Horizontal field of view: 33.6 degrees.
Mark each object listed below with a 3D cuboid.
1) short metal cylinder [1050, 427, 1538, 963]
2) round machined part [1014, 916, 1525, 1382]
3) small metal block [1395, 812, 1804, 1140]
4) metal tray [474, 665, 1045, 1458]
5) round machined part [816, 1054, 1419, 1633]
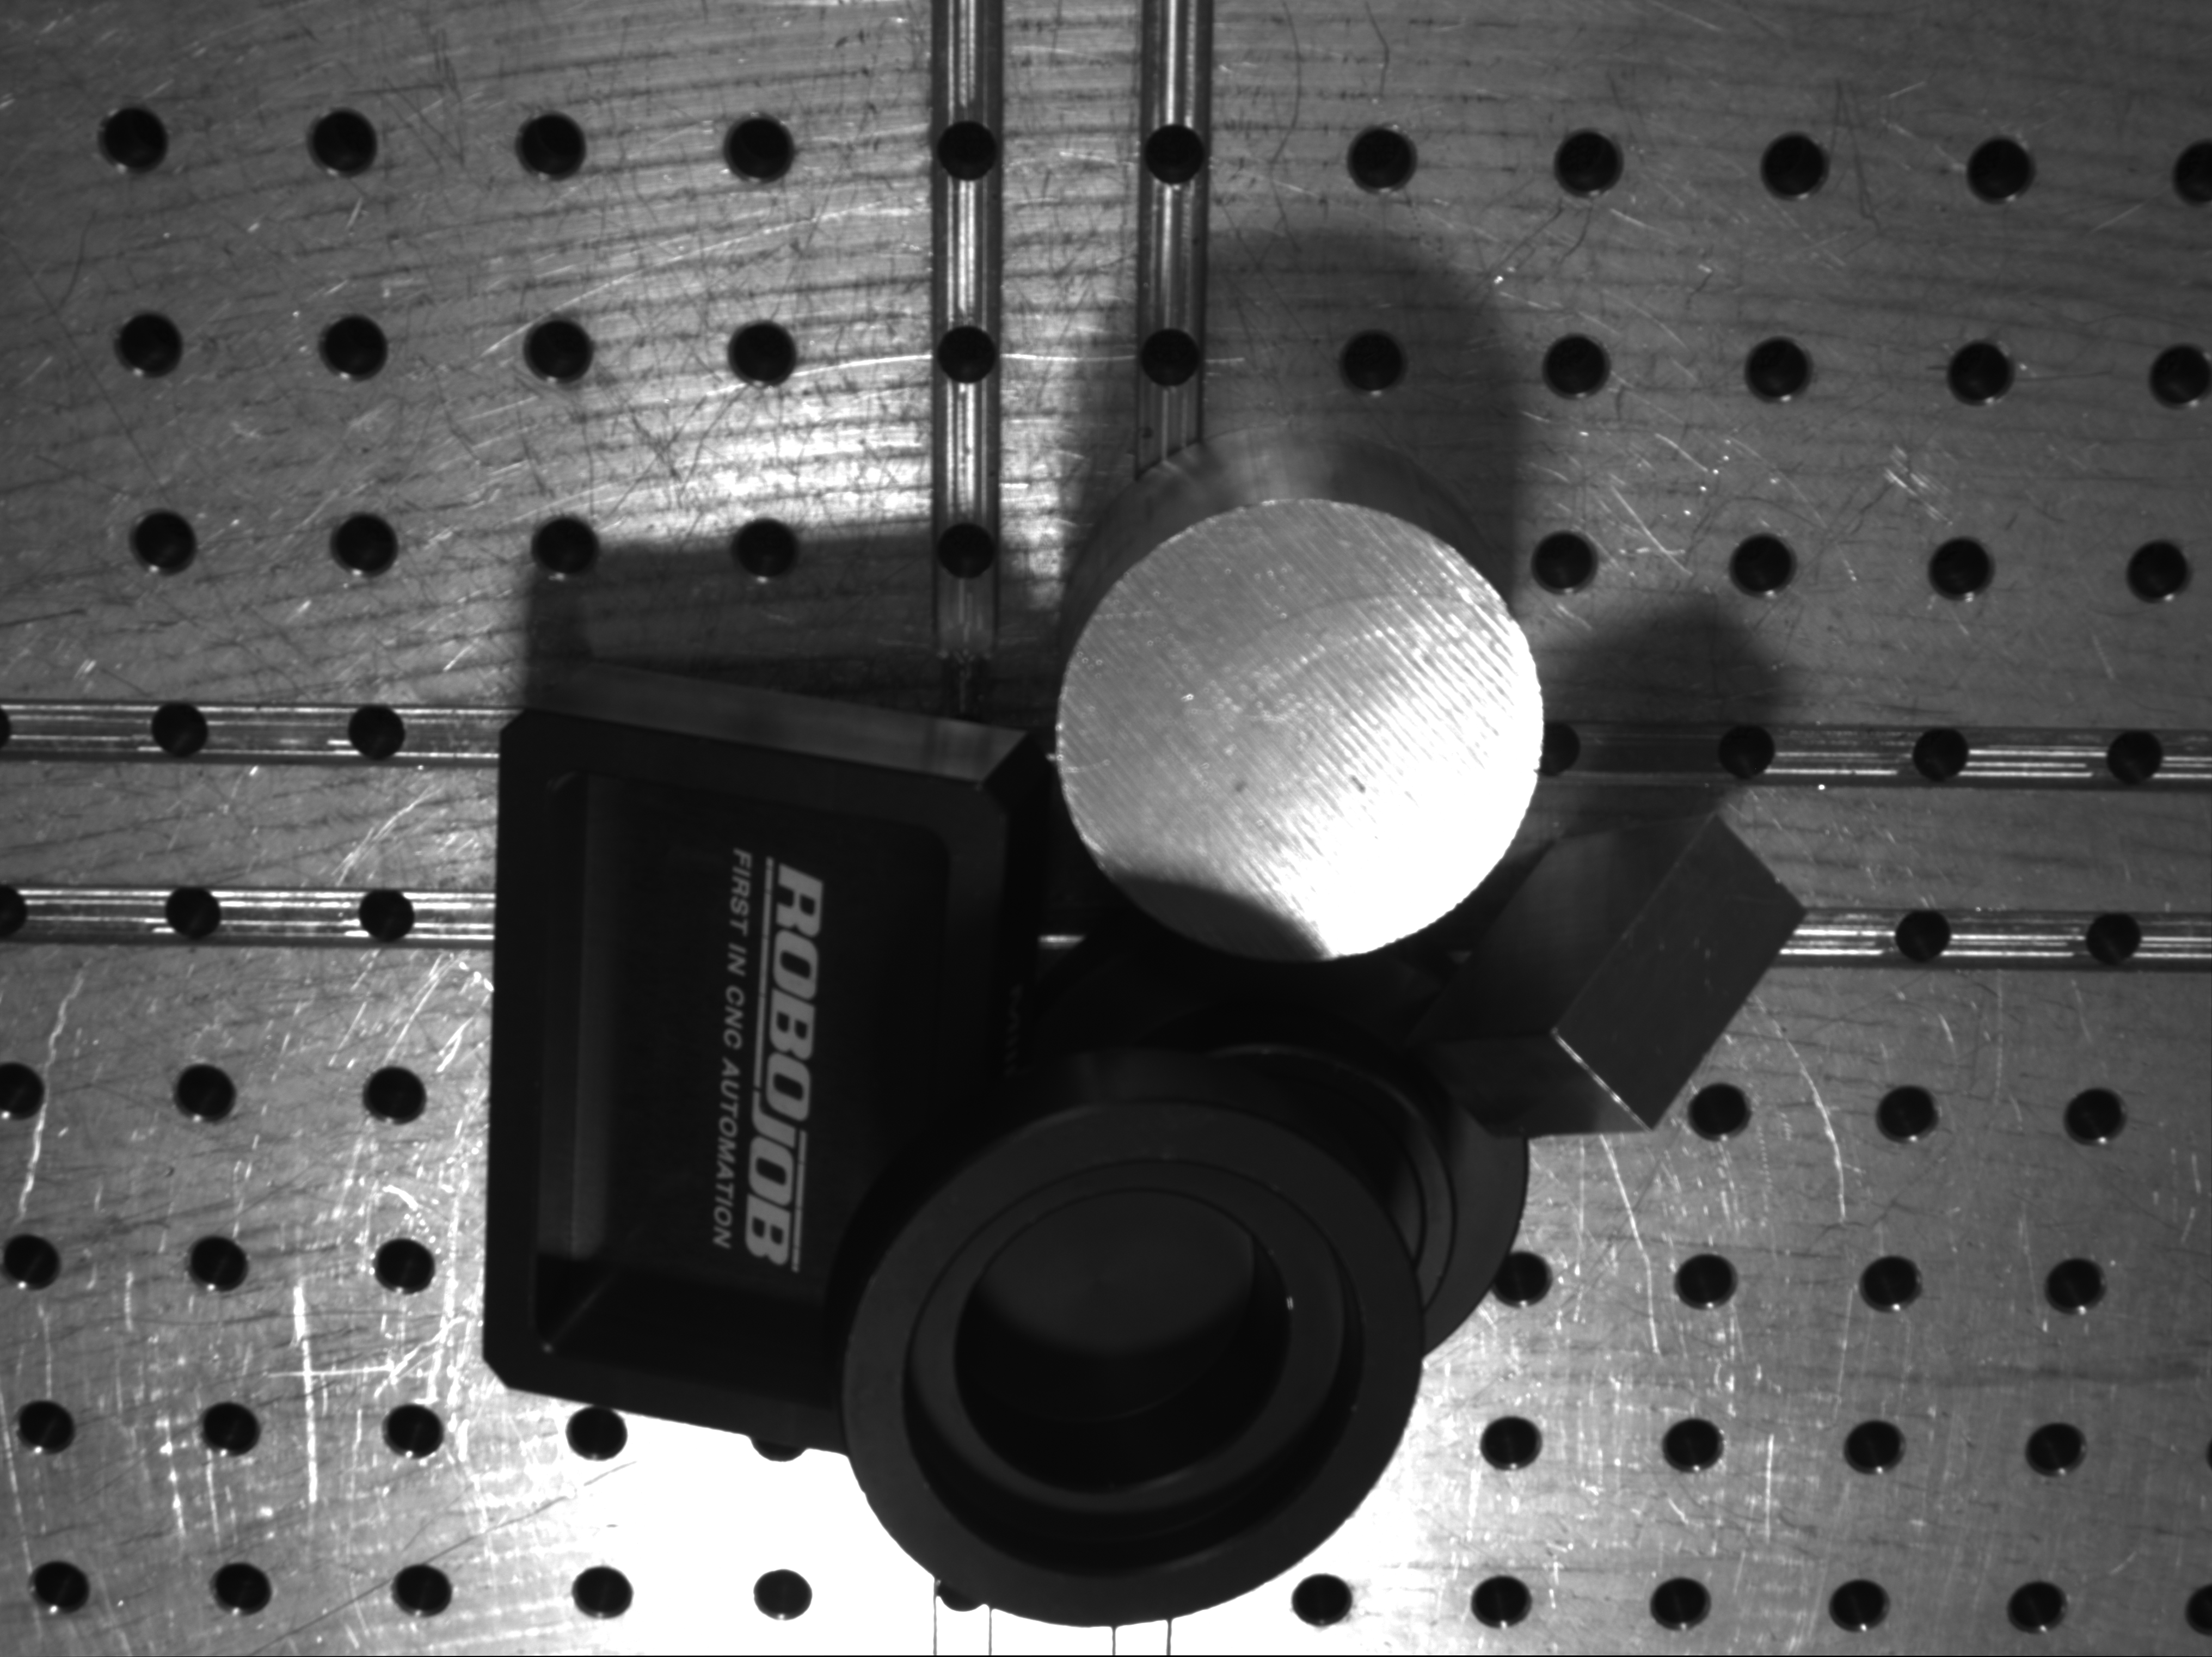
[{"bbox_3d":[0.031,-0.024,0.624,0.080,0.050,0.080,0,110,-1],"label":"short metal cylinder"},{"bbox_3d":[0.026,0.063,0.659,0.098,0.042,0.098,0,110,-1],"label":"round machined part"},{"bbox_3d":[0.085,0.026,0.633,0.025,0.050,0.050,45,69,-15],"label":"small metal block"},{"bbox_3d":[-0.062,0.043,0.646,0.090,0.030,0.130,9,110,12],"label":"metal tray"},{"bbox_3d":[0.000,0.082,0.616,0.098,0.042,0.098,-4,112,-10],"label":"round machined part"}]
